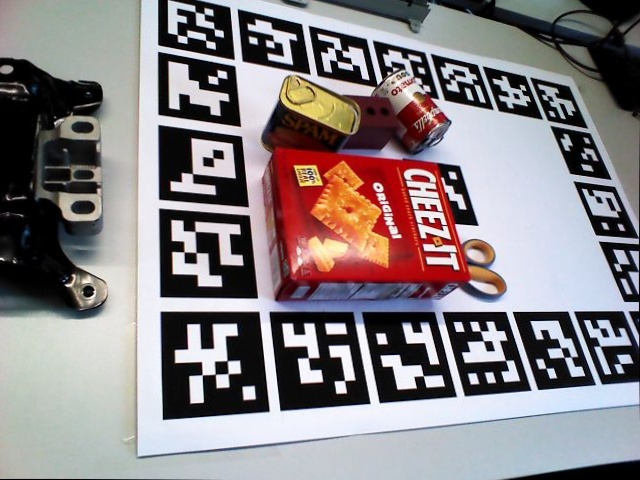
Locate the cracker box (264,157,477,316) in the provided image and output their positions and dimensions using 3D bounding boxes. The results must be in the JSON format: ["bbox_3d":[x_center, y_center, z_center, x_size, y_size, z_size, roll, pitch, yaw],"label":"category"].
[{"bbox_3d":[0.057,-0.011,0.590,0.213,0.072,0.163,-3,66,-22],"label":"cracker box"}]

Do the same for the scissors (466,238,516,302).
[{"bbox_3d":[0.156,0.040,0.646,0.202,0.016,0.087,-2,67,-25],"label":"scissors"}]

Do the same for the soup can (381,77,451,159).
[{"bbox_3d":[0.138,-0.174,0.739,0.102,0.068,0.067,46,56,9],"label":"soup can"}]

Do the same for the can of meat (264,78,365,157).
[{"bbox_3d":[-0.010,-0.137,0.631,0.102,0.084,0.057,17,60,-17],"label":"can of meat"}]

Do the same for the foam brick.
[{"bbox_3d":[0.066,-0.153,0.697,0.078,0.052,0.052,-7,69,-27],"label":"foam brick"}]
